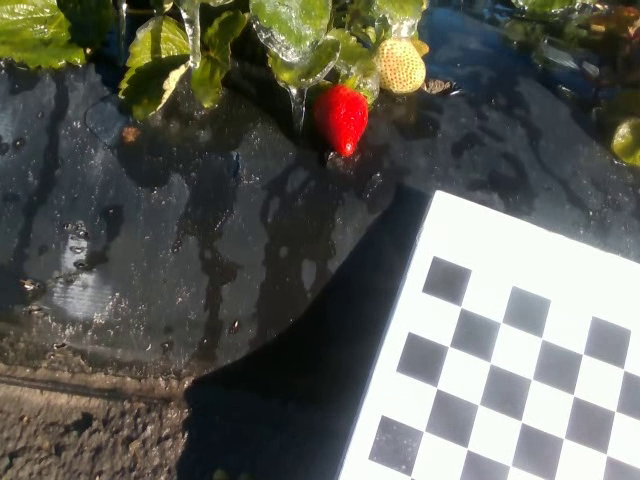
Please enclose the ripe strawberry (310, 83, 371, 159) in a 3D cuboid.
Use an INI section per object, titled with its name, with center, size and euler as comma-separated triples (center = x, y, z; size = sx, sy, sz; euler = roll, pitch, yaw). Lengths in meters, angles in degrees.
[ripe strawberry]
center = 0.017, -0.078, 0.374
size = 0.042, 0.052, 0.040
euler = 5, -27, -4
